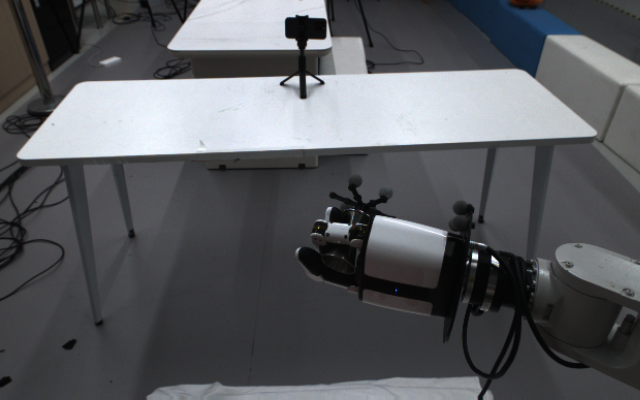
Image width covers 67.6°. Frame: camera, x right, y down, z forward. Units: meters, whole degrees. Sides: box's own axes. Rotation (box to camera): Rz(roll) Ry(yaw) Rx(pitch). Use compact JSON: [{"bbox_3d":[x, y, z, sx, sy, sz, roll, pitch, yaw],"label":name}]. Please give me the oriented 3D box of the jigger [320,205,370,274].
[{"bbox_3d":[0.035,0.046,0.580,0.043,0.043,0.071,15,58,18],"label":"jigger"}]
